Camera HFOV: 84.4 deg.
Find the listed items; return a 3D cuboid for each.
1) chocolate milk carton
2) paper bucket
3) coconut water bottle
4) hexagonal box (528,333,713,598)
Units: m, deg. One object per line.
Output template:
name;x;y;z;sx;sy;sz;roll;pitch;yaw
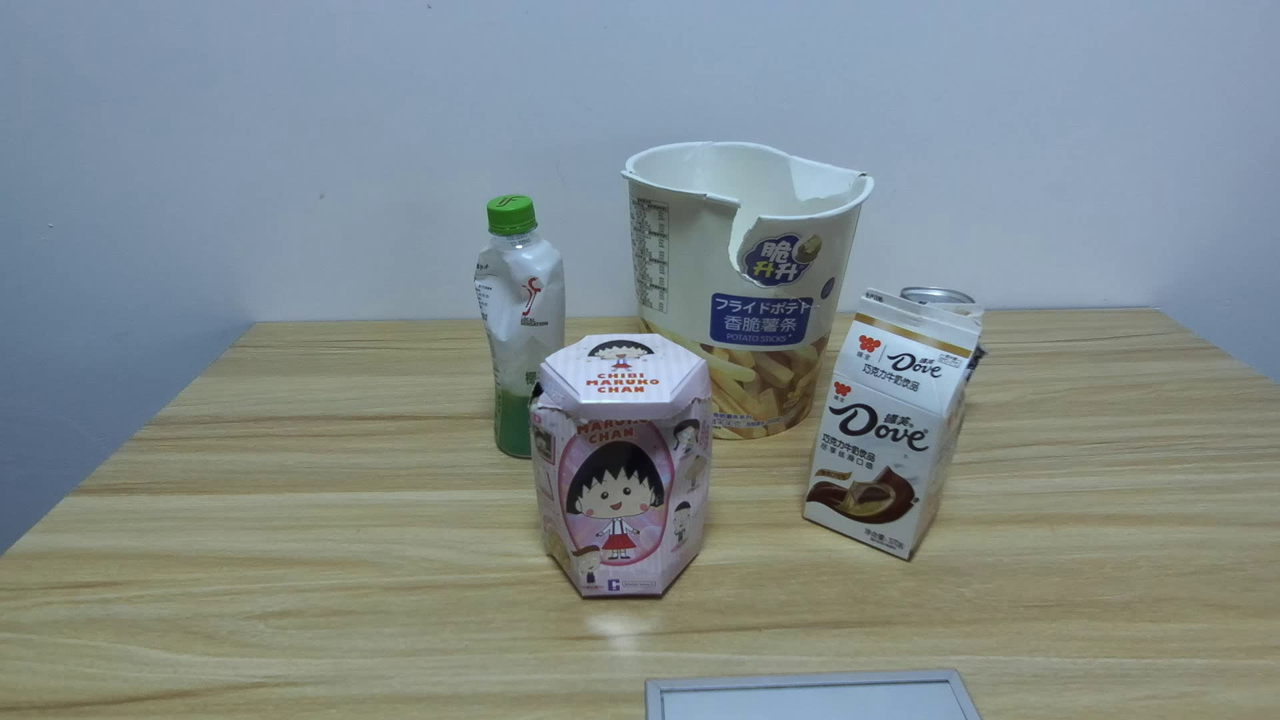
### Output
chocolate milk carton;0.155;0.033;0.438;0.084;0.155;0.073;18;33;32
paper bucket;0.075;-0.056;0.558;0.146;0.197;0.201;-24;36;-34
coconut water bottle;-0.082;-0.022;0.510;0.069;0.187;0.069;1;27;0
hexagonal box;-0.011;0.060;0.414;0.091;0.134;0.090;20;32;35
